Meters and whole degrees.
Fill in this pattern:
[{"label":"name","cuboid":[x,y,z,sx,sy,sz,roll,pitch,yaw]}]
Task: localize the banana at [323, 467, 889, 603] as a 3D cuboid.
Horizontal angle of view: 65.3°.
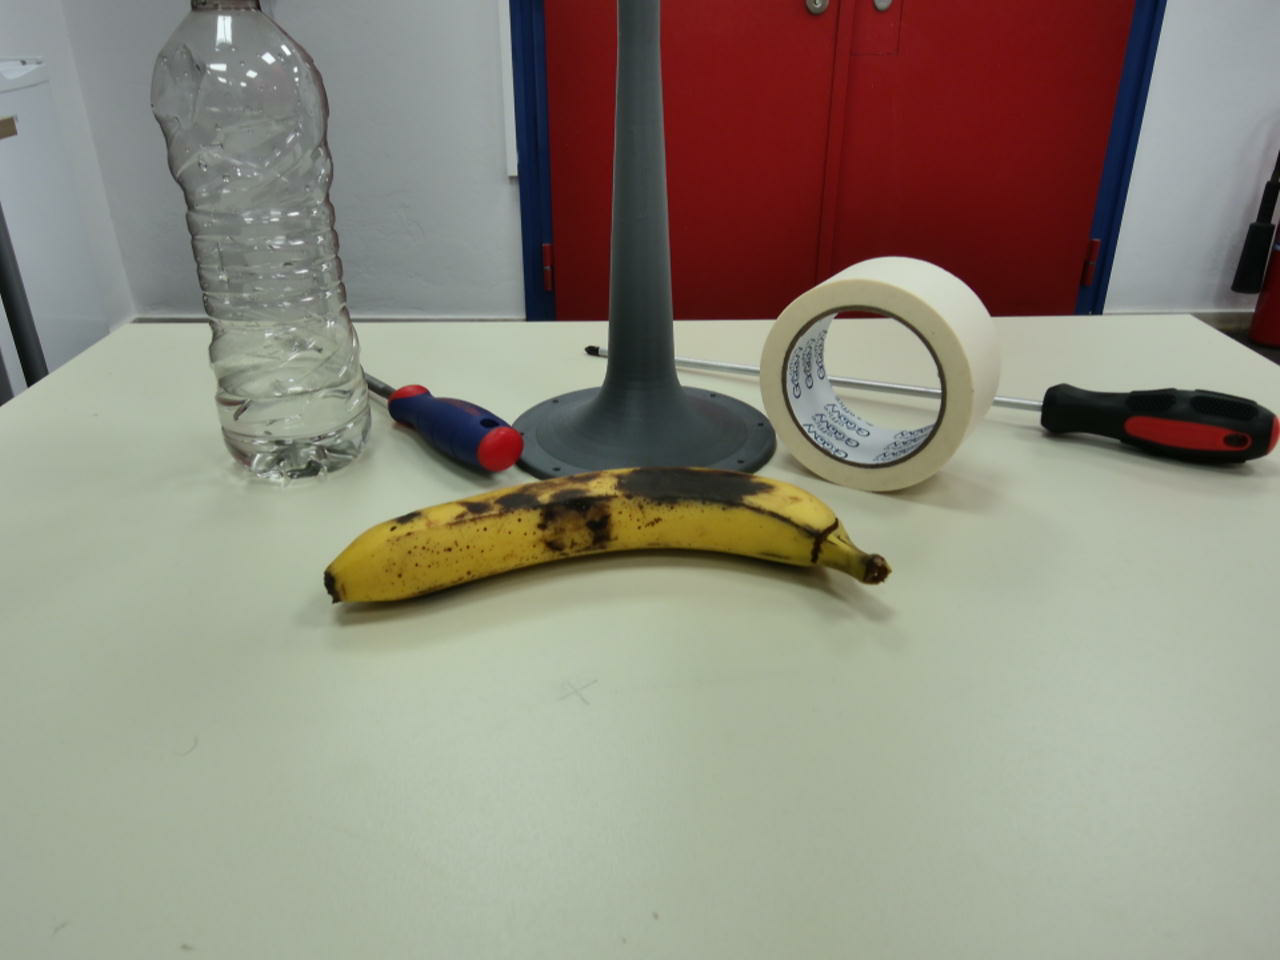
[{"label":"banana","cuboid":[-0.014,0.022,0.425,0.222,0.037,0.084,0,24,0]}]
